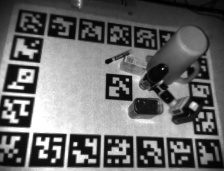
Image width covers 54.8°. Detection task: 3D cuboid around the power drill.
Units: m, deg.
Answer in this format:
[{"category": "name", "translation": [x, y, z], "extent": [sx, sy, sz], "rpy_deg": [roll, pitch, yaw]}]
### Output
[{"category": "power drill", "translation": [0.189, 0.022, 0.736], "extent": [0.187, 0.183, 0.057], "rpy_deg": [38, 72, -4]}]

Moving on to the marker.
[{"category": "marker", "translation": [0.027, -0.108, 0.826], "extent": [0.122, 0.019, 0.019], "rpy_deg": [-23, 79, -18]}]

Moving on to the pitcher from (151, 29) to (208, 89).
[{"category": "pitcher", "translation": [0.241, -0.080, 0.756], "extent": [0.188, 0.243, 0.133], "rpy_deg": [32, 72, 7]}]

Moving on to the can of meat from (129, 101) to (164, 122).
[{"category": "can of meat", "translation": [0.114, 0.093, 0.746], "extent": [0.102, 0.083, 0.057], "rpy_deg": [2, 70, -12]}]

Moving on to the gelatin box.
[{"category": "gelatin box", "translation": [0.085, -0.061, 0.798], "extent": [0.090, 0.073, 0.030], "rpy_deg": [14, 74, -9]}]
